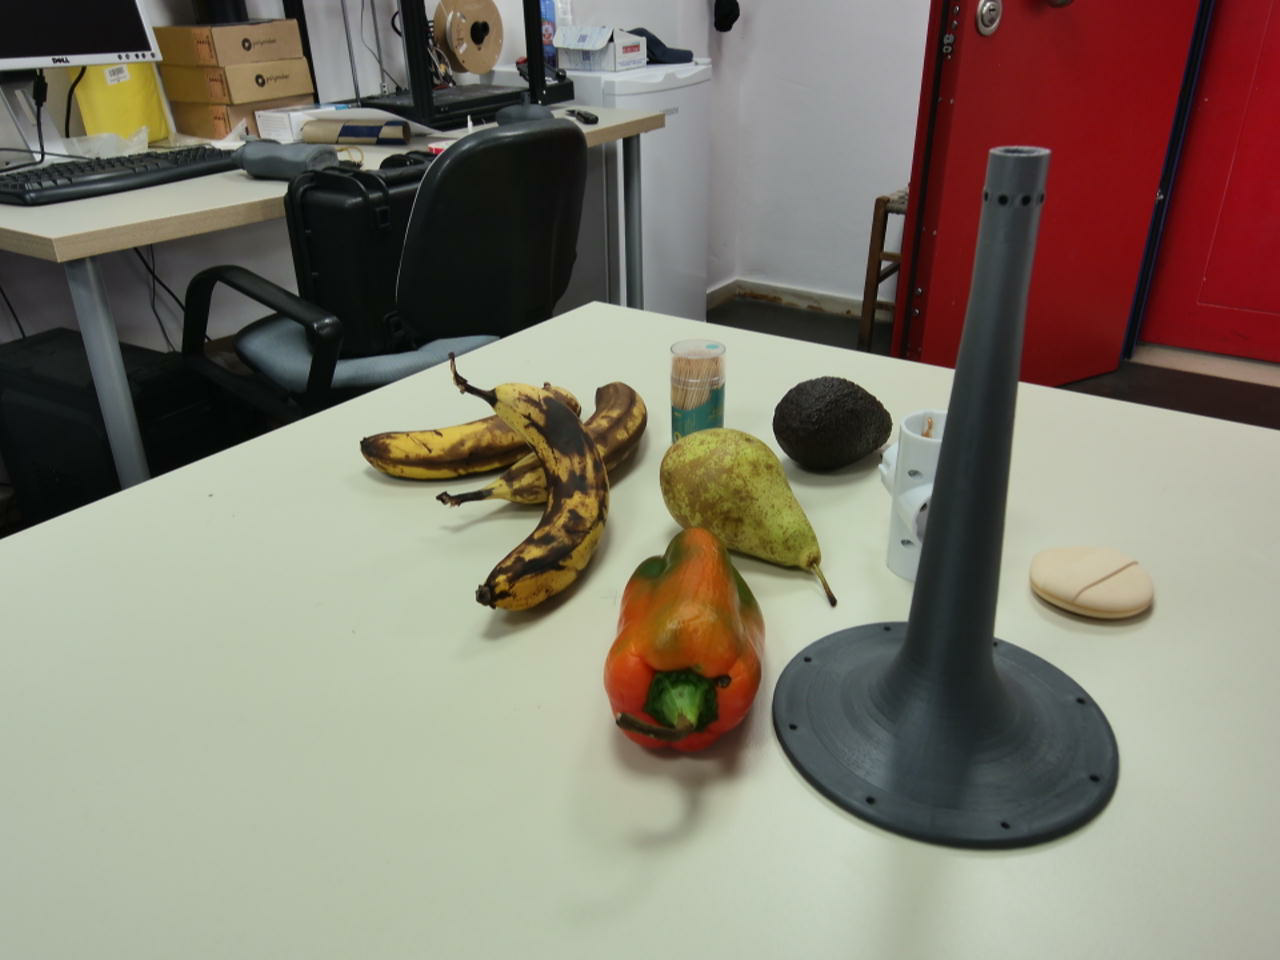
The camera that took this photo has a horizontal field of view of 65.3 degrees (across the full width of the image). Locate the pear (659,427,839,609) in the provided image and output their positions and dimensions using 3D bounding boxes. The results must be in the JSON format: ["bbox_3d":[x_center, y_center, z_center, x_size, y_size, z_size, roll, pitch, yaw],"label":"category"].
[{"bbox_3d":[0.070,0.010,0.598,0.128,0.075,0.071,14,28,25],"label":"pear"}]
